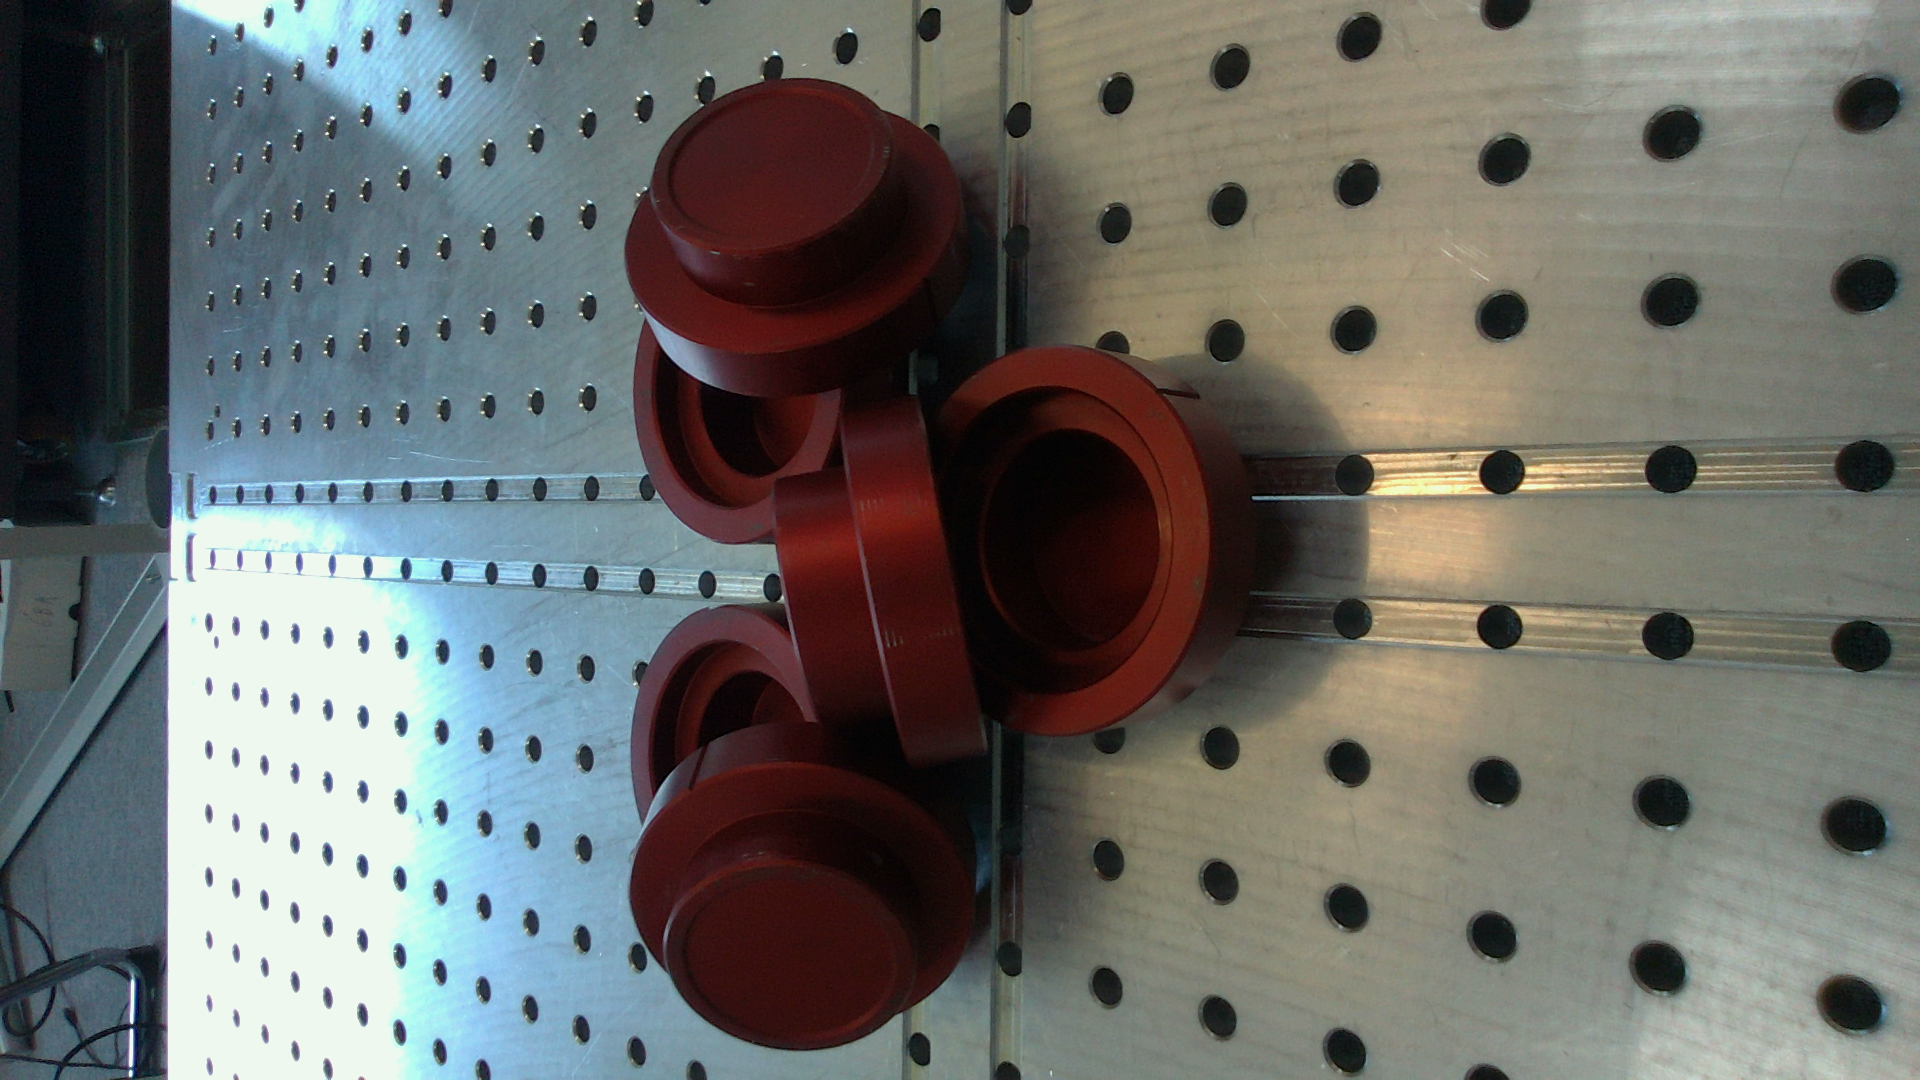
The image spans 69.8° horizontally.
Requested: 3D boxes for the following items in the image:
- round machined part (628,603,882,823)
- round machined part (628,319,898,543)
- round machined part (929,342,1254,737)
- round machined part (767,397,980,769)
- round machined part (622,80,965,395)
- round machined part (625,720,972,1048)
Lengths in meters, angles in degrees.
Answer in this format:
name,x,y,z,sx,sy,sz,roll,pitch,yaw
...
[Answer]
name,x,y,z,sx,sy,sz,roll,pitch,yaw
round machined part,-0.059,0.068,0.436,0.098,0.042,0.098,0,90,40
round machined part,-0.058,-0.048,0.434,0.098,0.042,0.098,0,90,40
round machined part,0.033,0.000,0.358,0.098,0.042,0.098,0,90,40
round machined part,-0.024,0.013,0.367,0.042,0.098,0.098,-10,81,-2
round machined part,-0.049,-0.092,0.392,0.098,0.042,0.098,-4,56,6
round machined part,-0.046,0.103,0.388,0.098,0.042,0.098,1,117,2
